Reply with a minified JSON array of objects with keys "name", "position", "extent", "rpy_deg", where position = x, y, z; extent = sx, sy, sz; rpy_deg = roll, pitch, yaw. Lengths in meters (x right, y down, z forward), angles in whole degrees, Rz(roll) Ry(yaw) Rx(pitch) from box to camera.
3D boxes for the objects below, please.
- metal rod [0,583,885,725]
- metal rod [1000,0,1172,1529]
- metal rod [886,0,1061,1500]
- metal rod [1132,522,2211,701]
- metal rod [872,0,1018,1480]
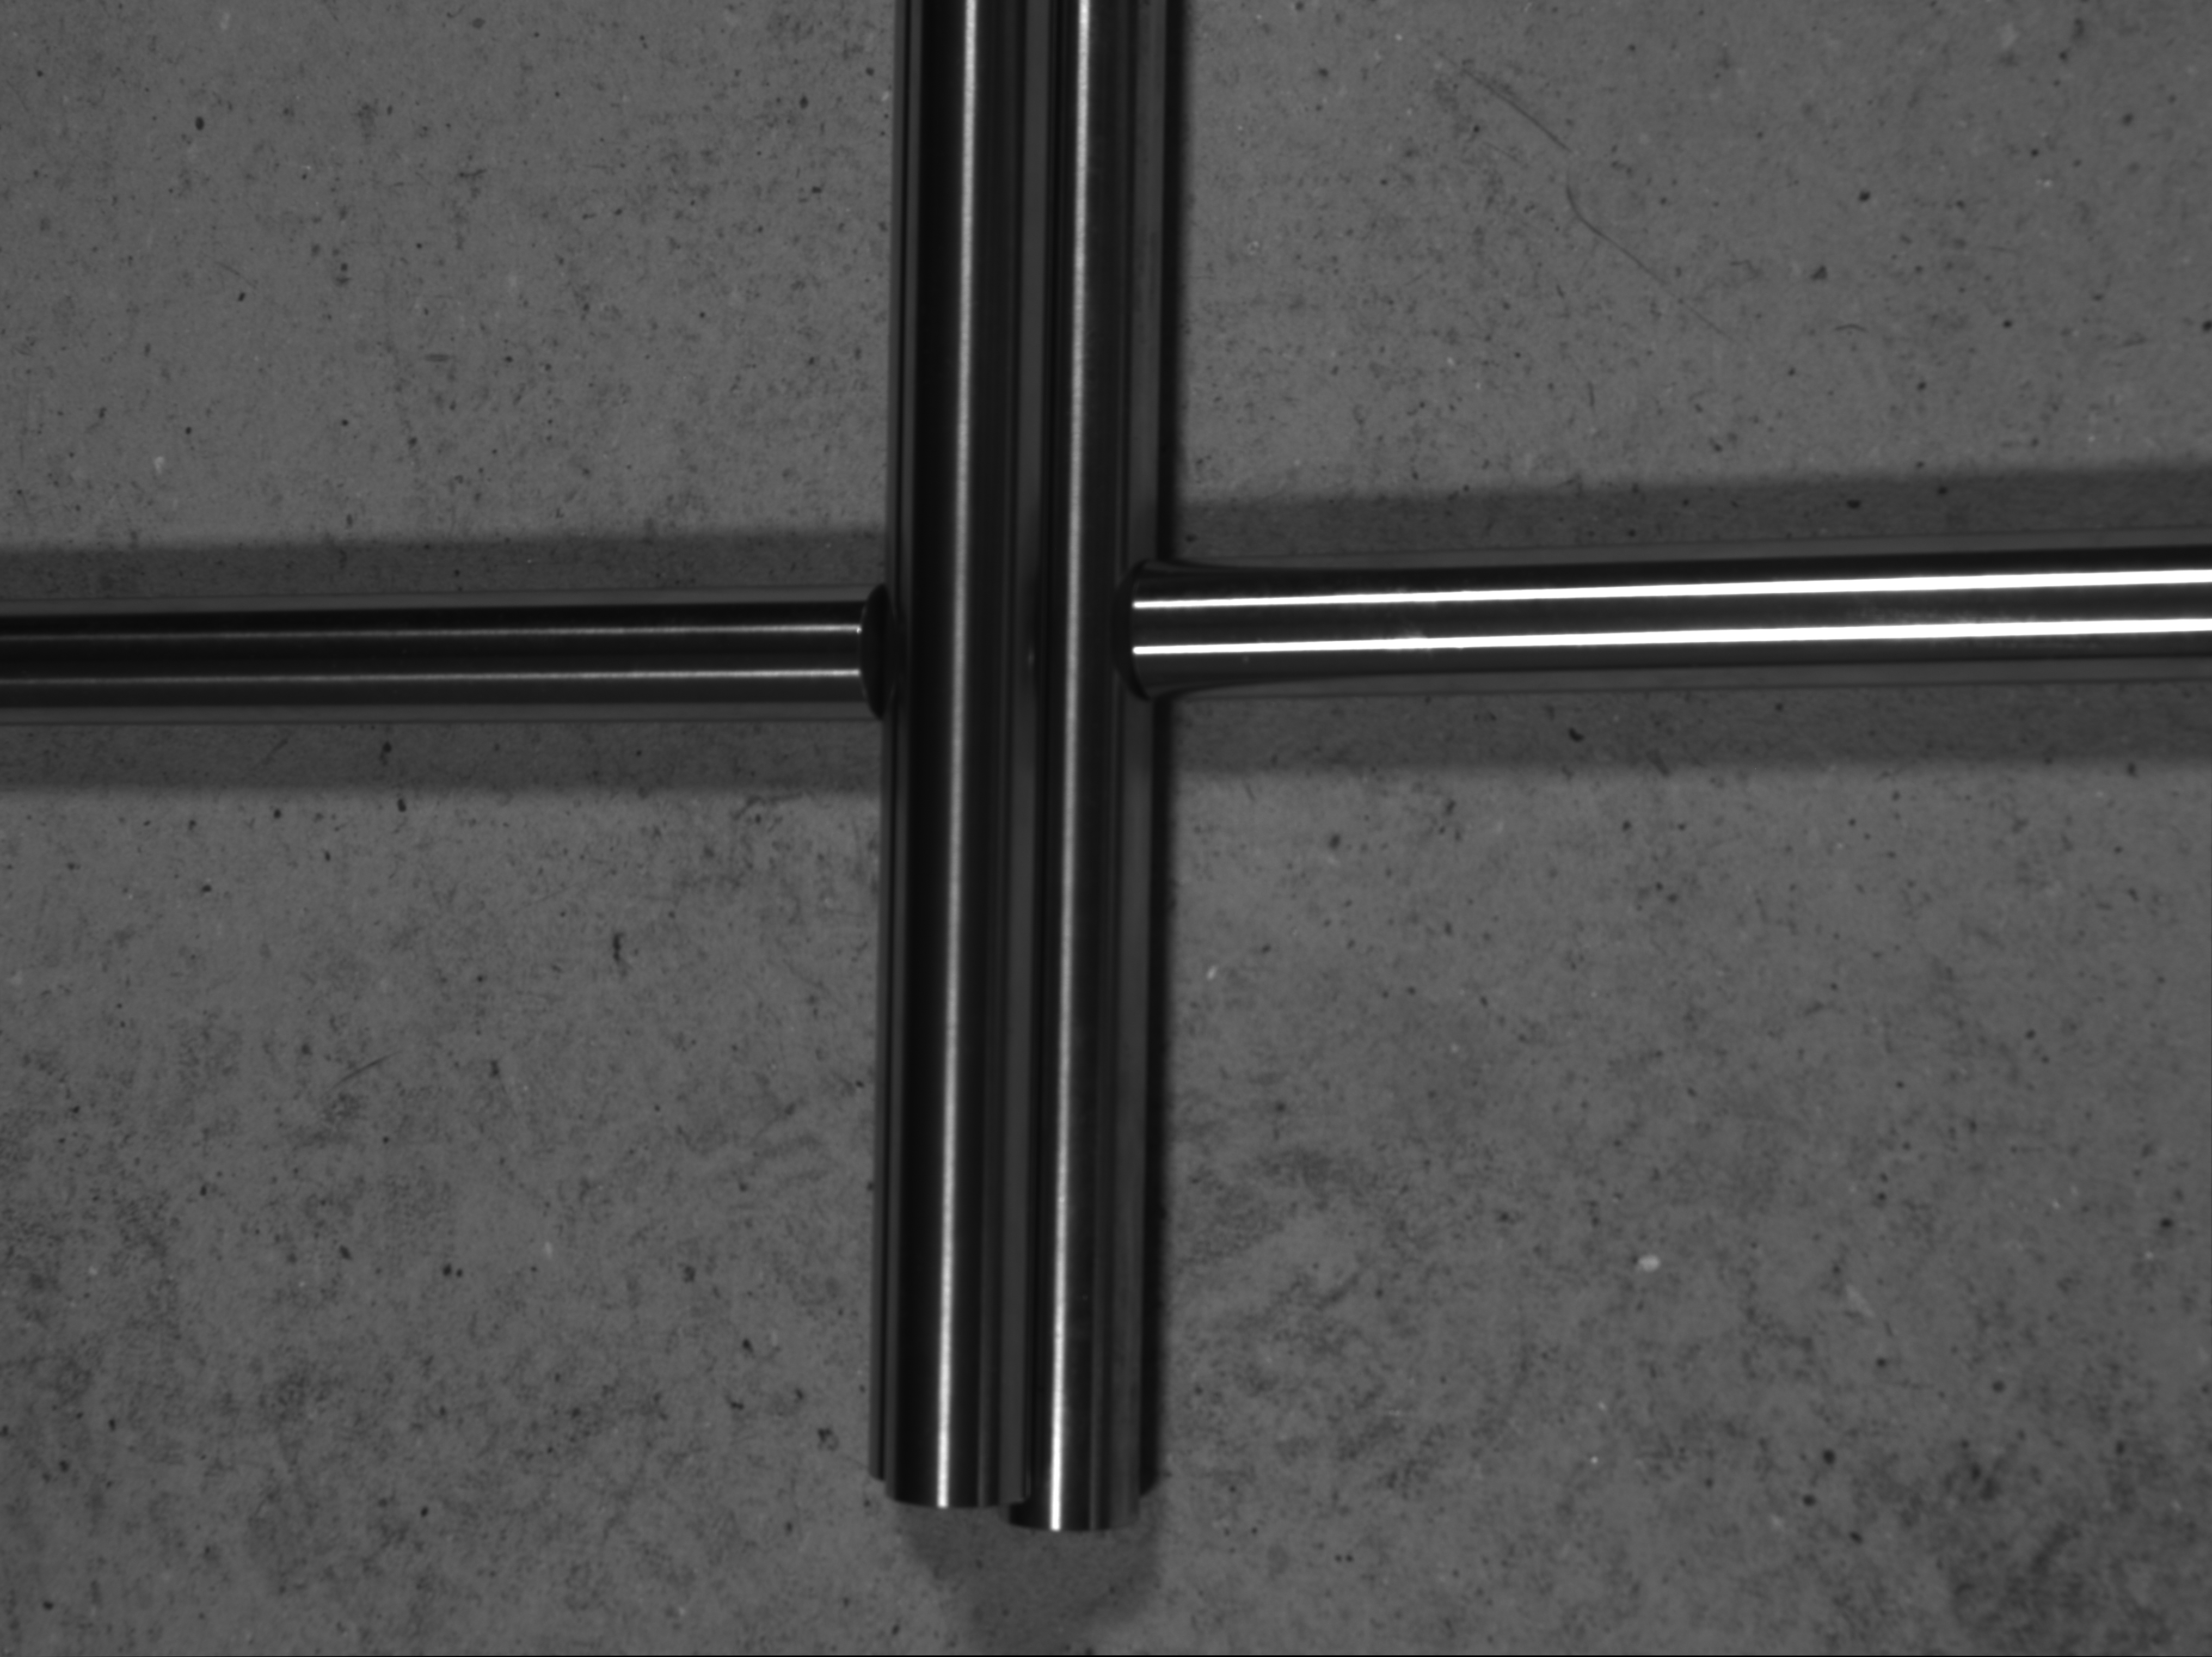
[{"name":"metal rod","position":[-0.180,-0.033,0.708],"extent":[0.299,0.025,0.025],"rpy_deg":[0,90,20]},{"name":"metal rod","position":[-0.003,-0.029,0.646],"extent":[0.025,0.025,0.300],"rpy_deg":[1,90,20]},{"name":"metal rod","position":[-0.022,-0.036,0.631],"extent":[0.025,0.025,0.300],"rpy_deg":[1,90,20]},{"name":"metal rod","position":[0.150,-0.036,0.591],"extent":[0.299,0.025,0.025],"rpy_deg":[0,90,20]},{"name":"metal rod","position":[-0.026,-0.035,0.655],"extent":[0.025,0.025,0.300],"rpy_deg":[1,90,20]}]
